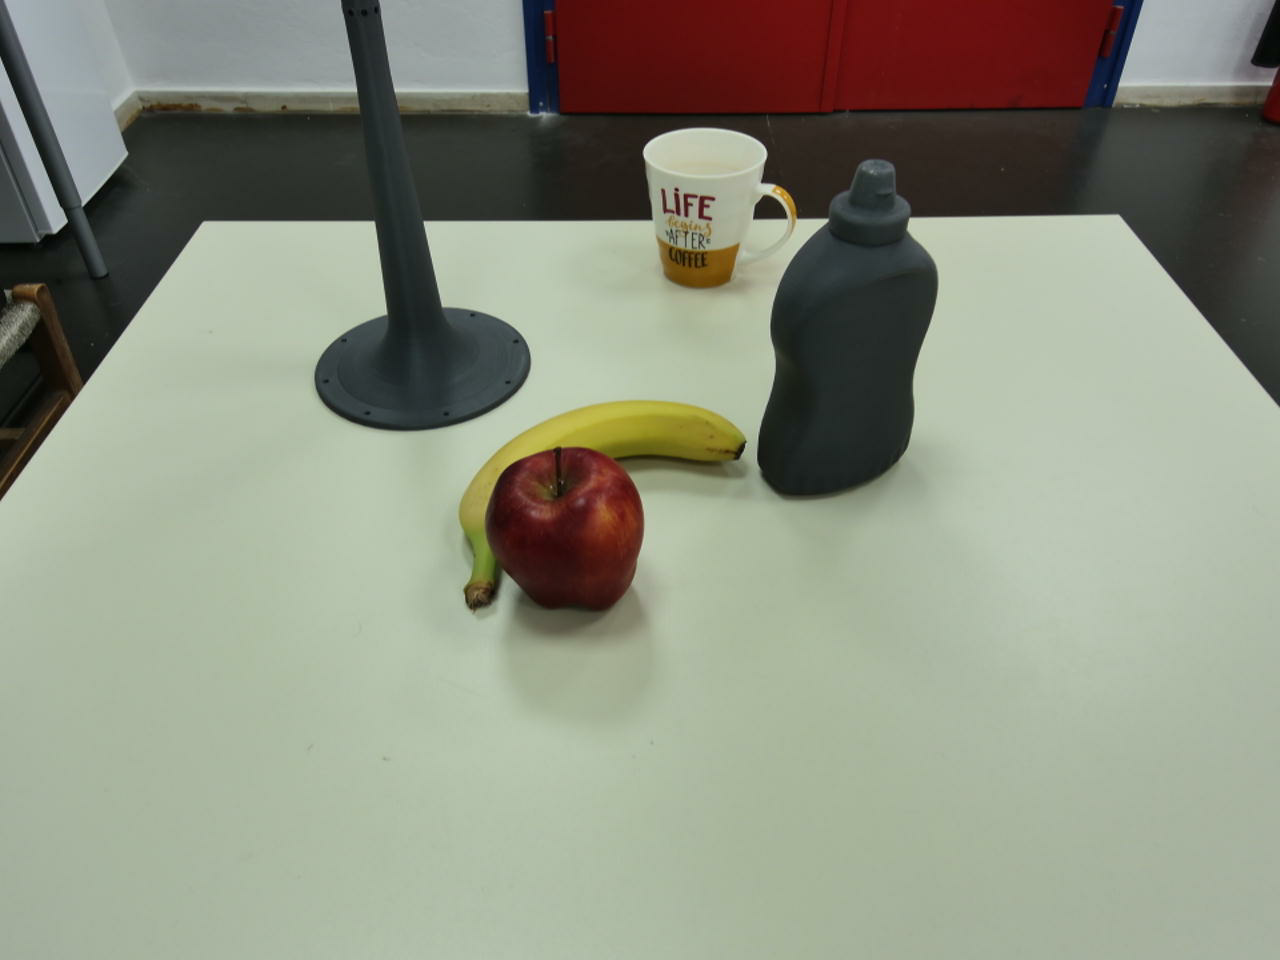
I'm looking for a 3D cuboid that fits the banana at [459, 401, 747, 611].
[{"bbox_3d":[-0.037,-0.004,0.594,0.196,0.041,0.094,-25,45,-27],"label":"banana"}]
